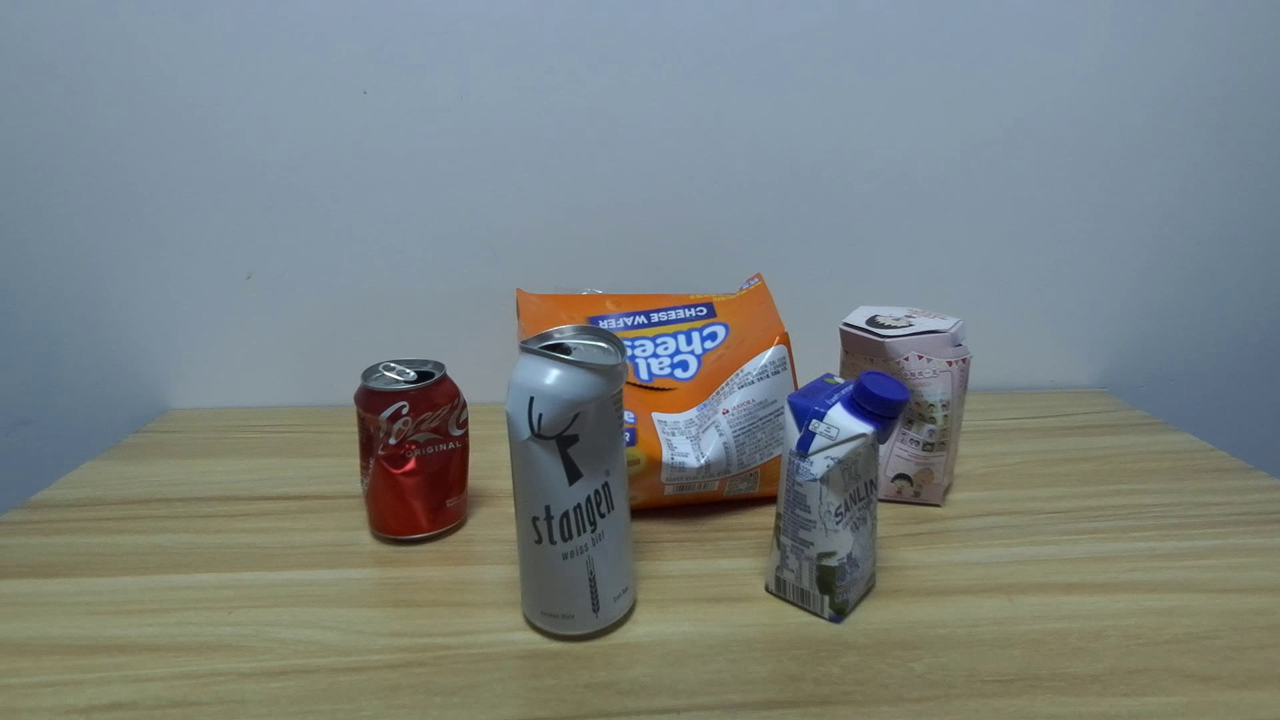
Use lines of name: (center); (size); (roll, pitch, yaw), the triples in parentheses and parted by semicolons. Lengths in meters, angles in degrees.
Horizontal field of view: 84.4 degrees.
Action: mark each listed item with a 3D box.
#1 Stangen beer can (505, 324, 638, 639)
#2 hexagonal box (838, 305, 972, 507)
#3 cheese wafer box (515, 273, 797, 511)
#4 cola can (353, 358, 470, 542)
Stangen beer can: (-0.035, 0.067, 0.383); (0.066, 0.162, 0.077); (-4, 18, -10)
hexagonal box: (0.194, 0.034, 0.532); (0.090, 0.134, 0.091); (1, 17, 15)
cheese wafer box: (0.015, 0.023, 0.545); (0.219, 0.145, 0.191); (-2, 17, -8)
cola can: (-0.157, 0.060, 0.483); (0.065, 0.117, 0.067); (16, 24, 41)
